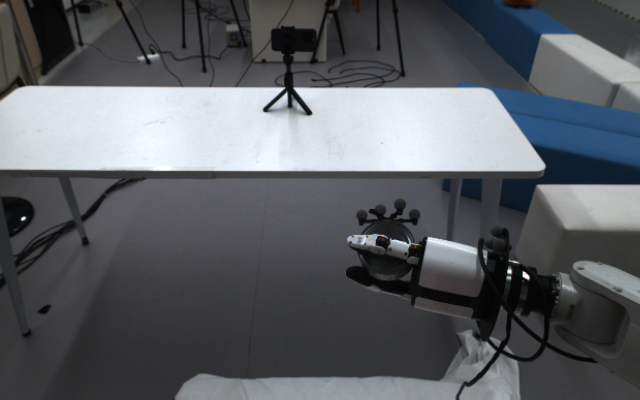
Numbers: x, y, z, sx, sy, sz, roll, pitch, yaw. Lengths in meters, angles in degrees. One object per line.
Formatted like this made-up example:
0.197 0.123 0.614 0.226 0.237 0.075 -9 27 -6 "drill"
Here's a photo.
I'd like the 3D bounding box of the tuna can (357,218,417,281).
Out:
0.099 0.073 0.711 0.085 0.034 0.085 -6 61 11 "tuna can"
